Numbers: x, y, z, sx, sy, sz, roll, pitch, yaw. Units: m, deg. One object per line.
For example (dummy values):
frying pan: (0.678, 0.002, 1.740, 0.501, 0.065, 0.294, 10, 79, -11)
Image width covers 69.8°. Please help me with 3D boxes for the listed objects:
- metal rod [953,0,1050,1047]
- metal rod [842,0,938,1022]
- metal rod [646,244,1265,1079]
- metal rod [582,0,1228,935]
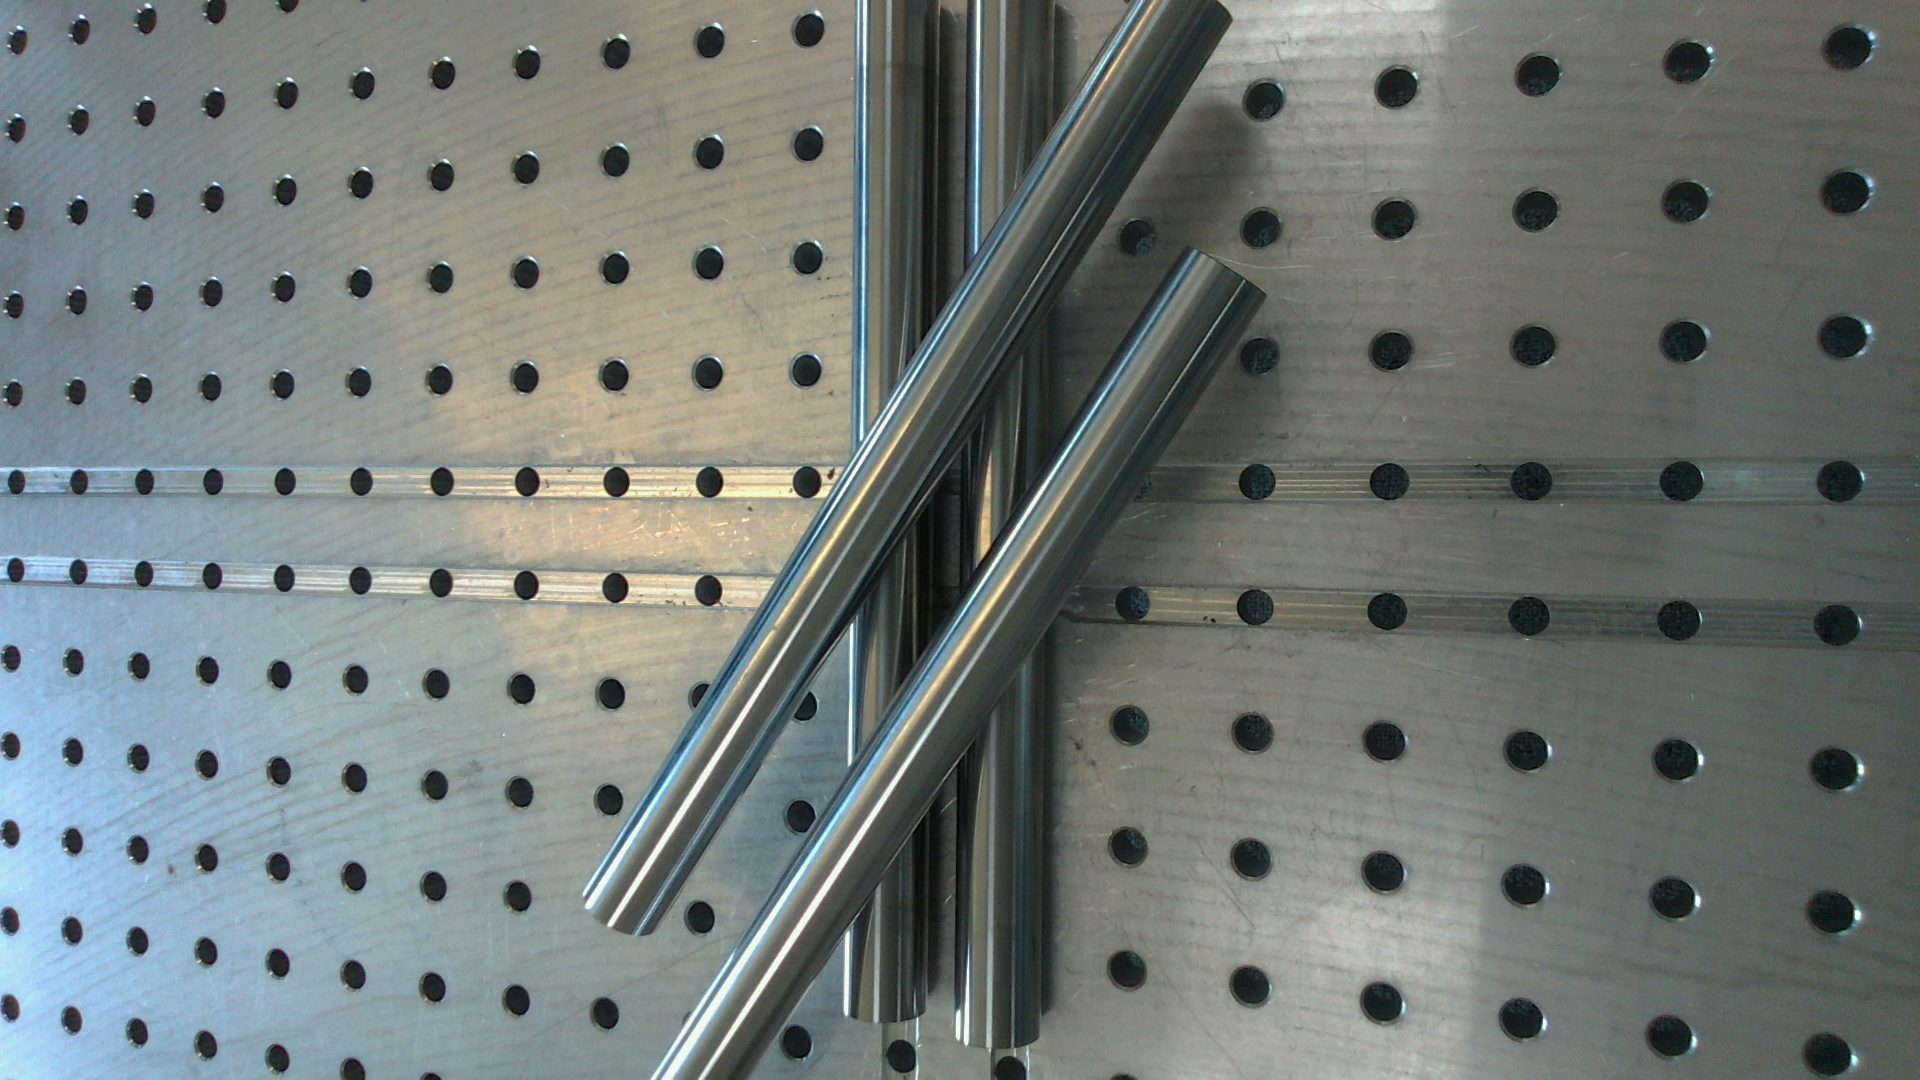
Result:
metal rod: (0.012, -0.009, 0.395, 0.025, 0.025, 0.300, 1, 90, 20)
metal rod: (-0.021, -0.012, 0.406, 0.025, 0.025, 0.300, 1, 90, 20)
metal rod: (-0.012, 0.056, 0.376, 0.025, 0.025, 0.300, 36, 101, 16)
metal rod: (-0.021, -0.015, 0.380, 0.025, 0.025, 0.300, 36, 102, 16)
